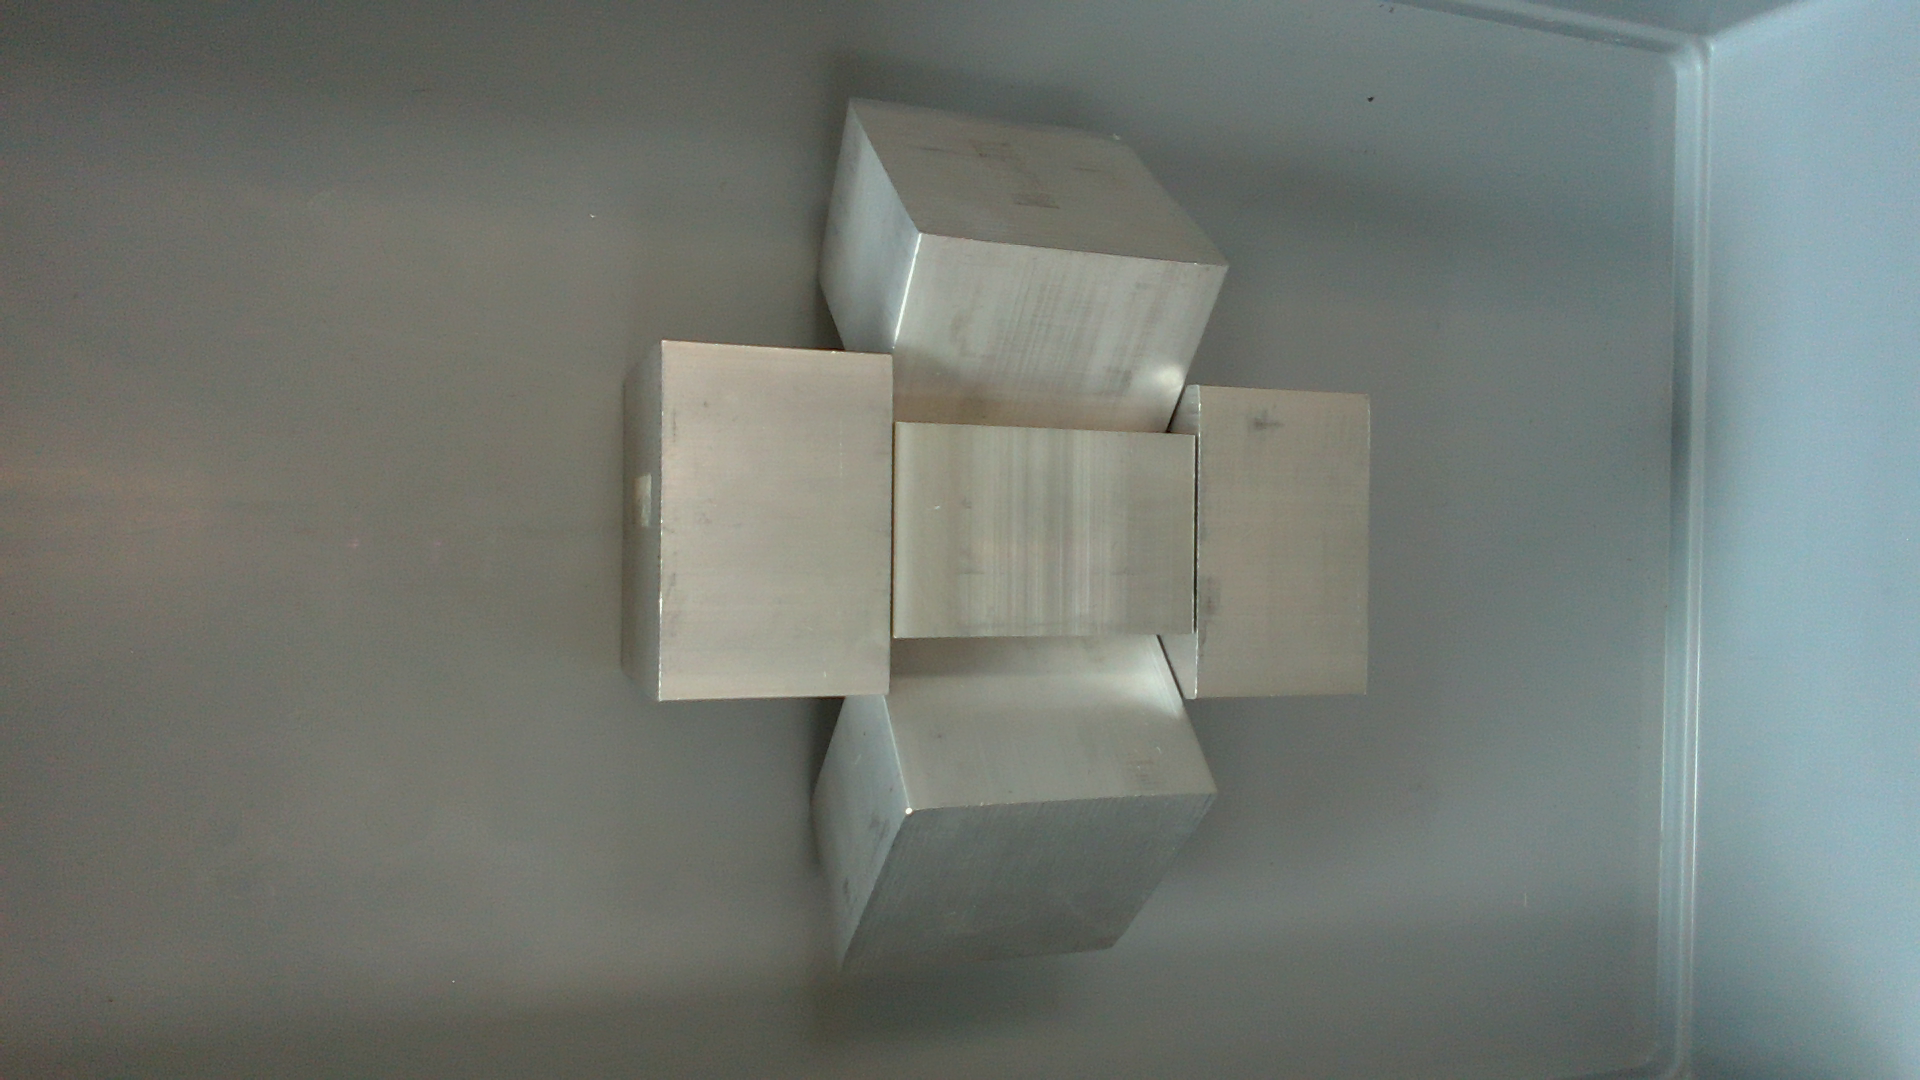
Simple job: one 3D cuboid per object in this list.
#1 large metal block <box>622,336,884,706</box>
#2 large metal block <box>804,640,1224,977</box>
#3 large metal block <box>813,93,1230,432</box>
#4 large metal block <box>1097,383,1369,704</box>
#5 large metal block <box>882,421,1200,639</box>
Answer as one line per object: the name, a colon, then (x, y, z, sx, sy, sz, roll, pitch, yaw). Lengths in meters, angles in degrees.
large metal block: (-0.055, -0.004, 0.343, 0.050, 0.080, 0.080, 1, 90, -20)
large metal block: (0.010, 0.069, 0.360, 0.080, 0.080, 0.050, 1, 48, -21)
large metal block: (0.012, -0.073, 0.361, 0.080, 0.080, 0.050, 2, 127, -20)
large metal block: (0.070, 0.001, 0.389, 0.050, 0.080, 0.080, 1, 90, -20)
large metal block: (0.008, -0.002, 0.367, 0.080, 0.080, 0.050, 1, 90, -20)
